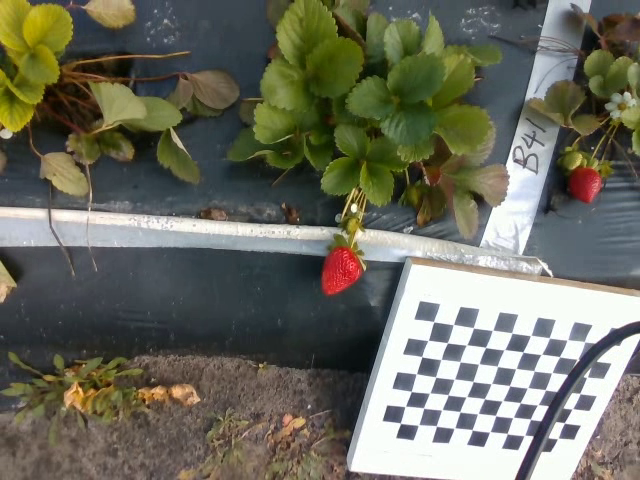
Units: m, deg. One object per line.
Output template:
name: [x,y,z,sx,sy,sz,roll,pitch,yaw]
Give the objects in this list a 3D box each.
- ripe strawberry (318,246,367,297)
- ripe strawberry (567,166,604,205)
ripe strawberry: [0.019,0.030,0.595,0.048,0.053,0.030,48,-15,-24]
ripe strawberry: [0.267,-0.053,0.644,0.037,0.048,0.031,22,-35,-17]
